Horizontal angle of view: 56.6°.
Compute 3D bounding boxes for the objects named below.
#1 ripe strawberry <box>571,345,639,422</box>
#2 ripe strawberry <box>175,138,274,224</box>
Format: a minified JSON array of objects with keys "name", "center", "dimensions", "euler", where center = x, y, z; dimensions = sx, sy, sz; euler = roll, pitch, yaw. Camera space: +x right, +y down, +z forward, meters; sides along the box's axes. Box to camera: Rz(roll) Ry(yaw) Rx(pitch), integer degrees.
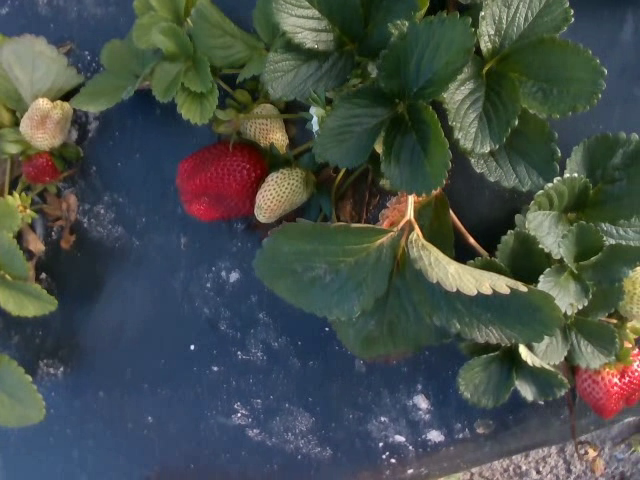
[{"name":"ripe strawberry","center":[0.195,0.099,0.383],"dimensions":[0.047,0.050,0.035],"euler":[-20,28,14]},{"name":"ripe strawberry","center":[-0.070,-0.038,0.399],"dimensions":[0.070,0.058,0.057],"euler":[-10,39,-25]}]
